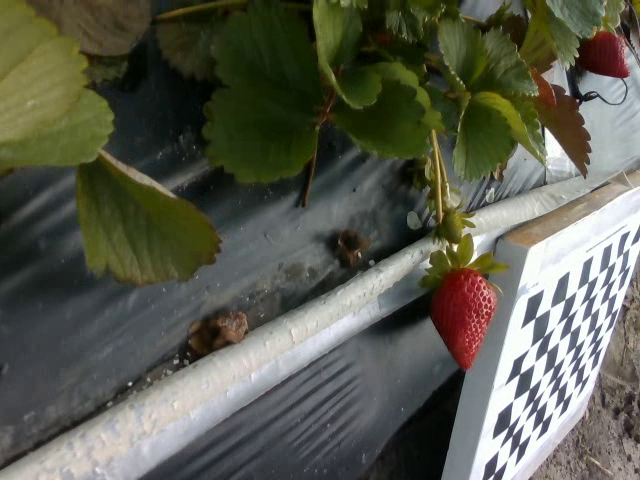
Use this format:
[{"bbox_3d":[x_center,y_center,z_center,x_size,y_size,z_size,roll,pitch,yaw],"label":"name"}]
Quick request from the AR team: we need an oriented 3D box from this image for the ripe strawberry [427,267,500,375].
[{"bbox_3d":[0.068,0.037,0.288,0.030,0.053,0.047,-3,-24,28],"label":"ripe strawberry"}]

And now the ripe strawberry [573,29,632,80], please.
[{"bbox_3d":[0.207,-0.132,0.439,0.030,0.048,0.037,-41,-24,32],"label":"ripe strawberry"}]
